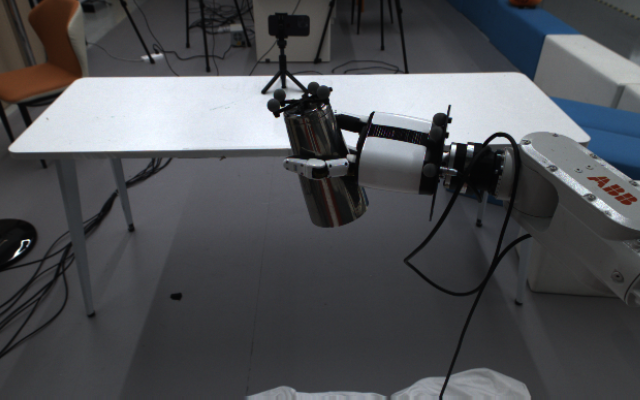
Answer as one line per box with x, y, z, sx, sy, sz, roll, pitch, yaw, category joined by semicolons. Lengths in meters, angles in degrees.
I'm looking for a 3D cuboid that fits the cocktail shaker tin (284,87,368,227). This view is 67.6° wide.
0.005;-0.056;0.694;0.093;0.170;0.093;-15;29;9;cocktail shaker tin
